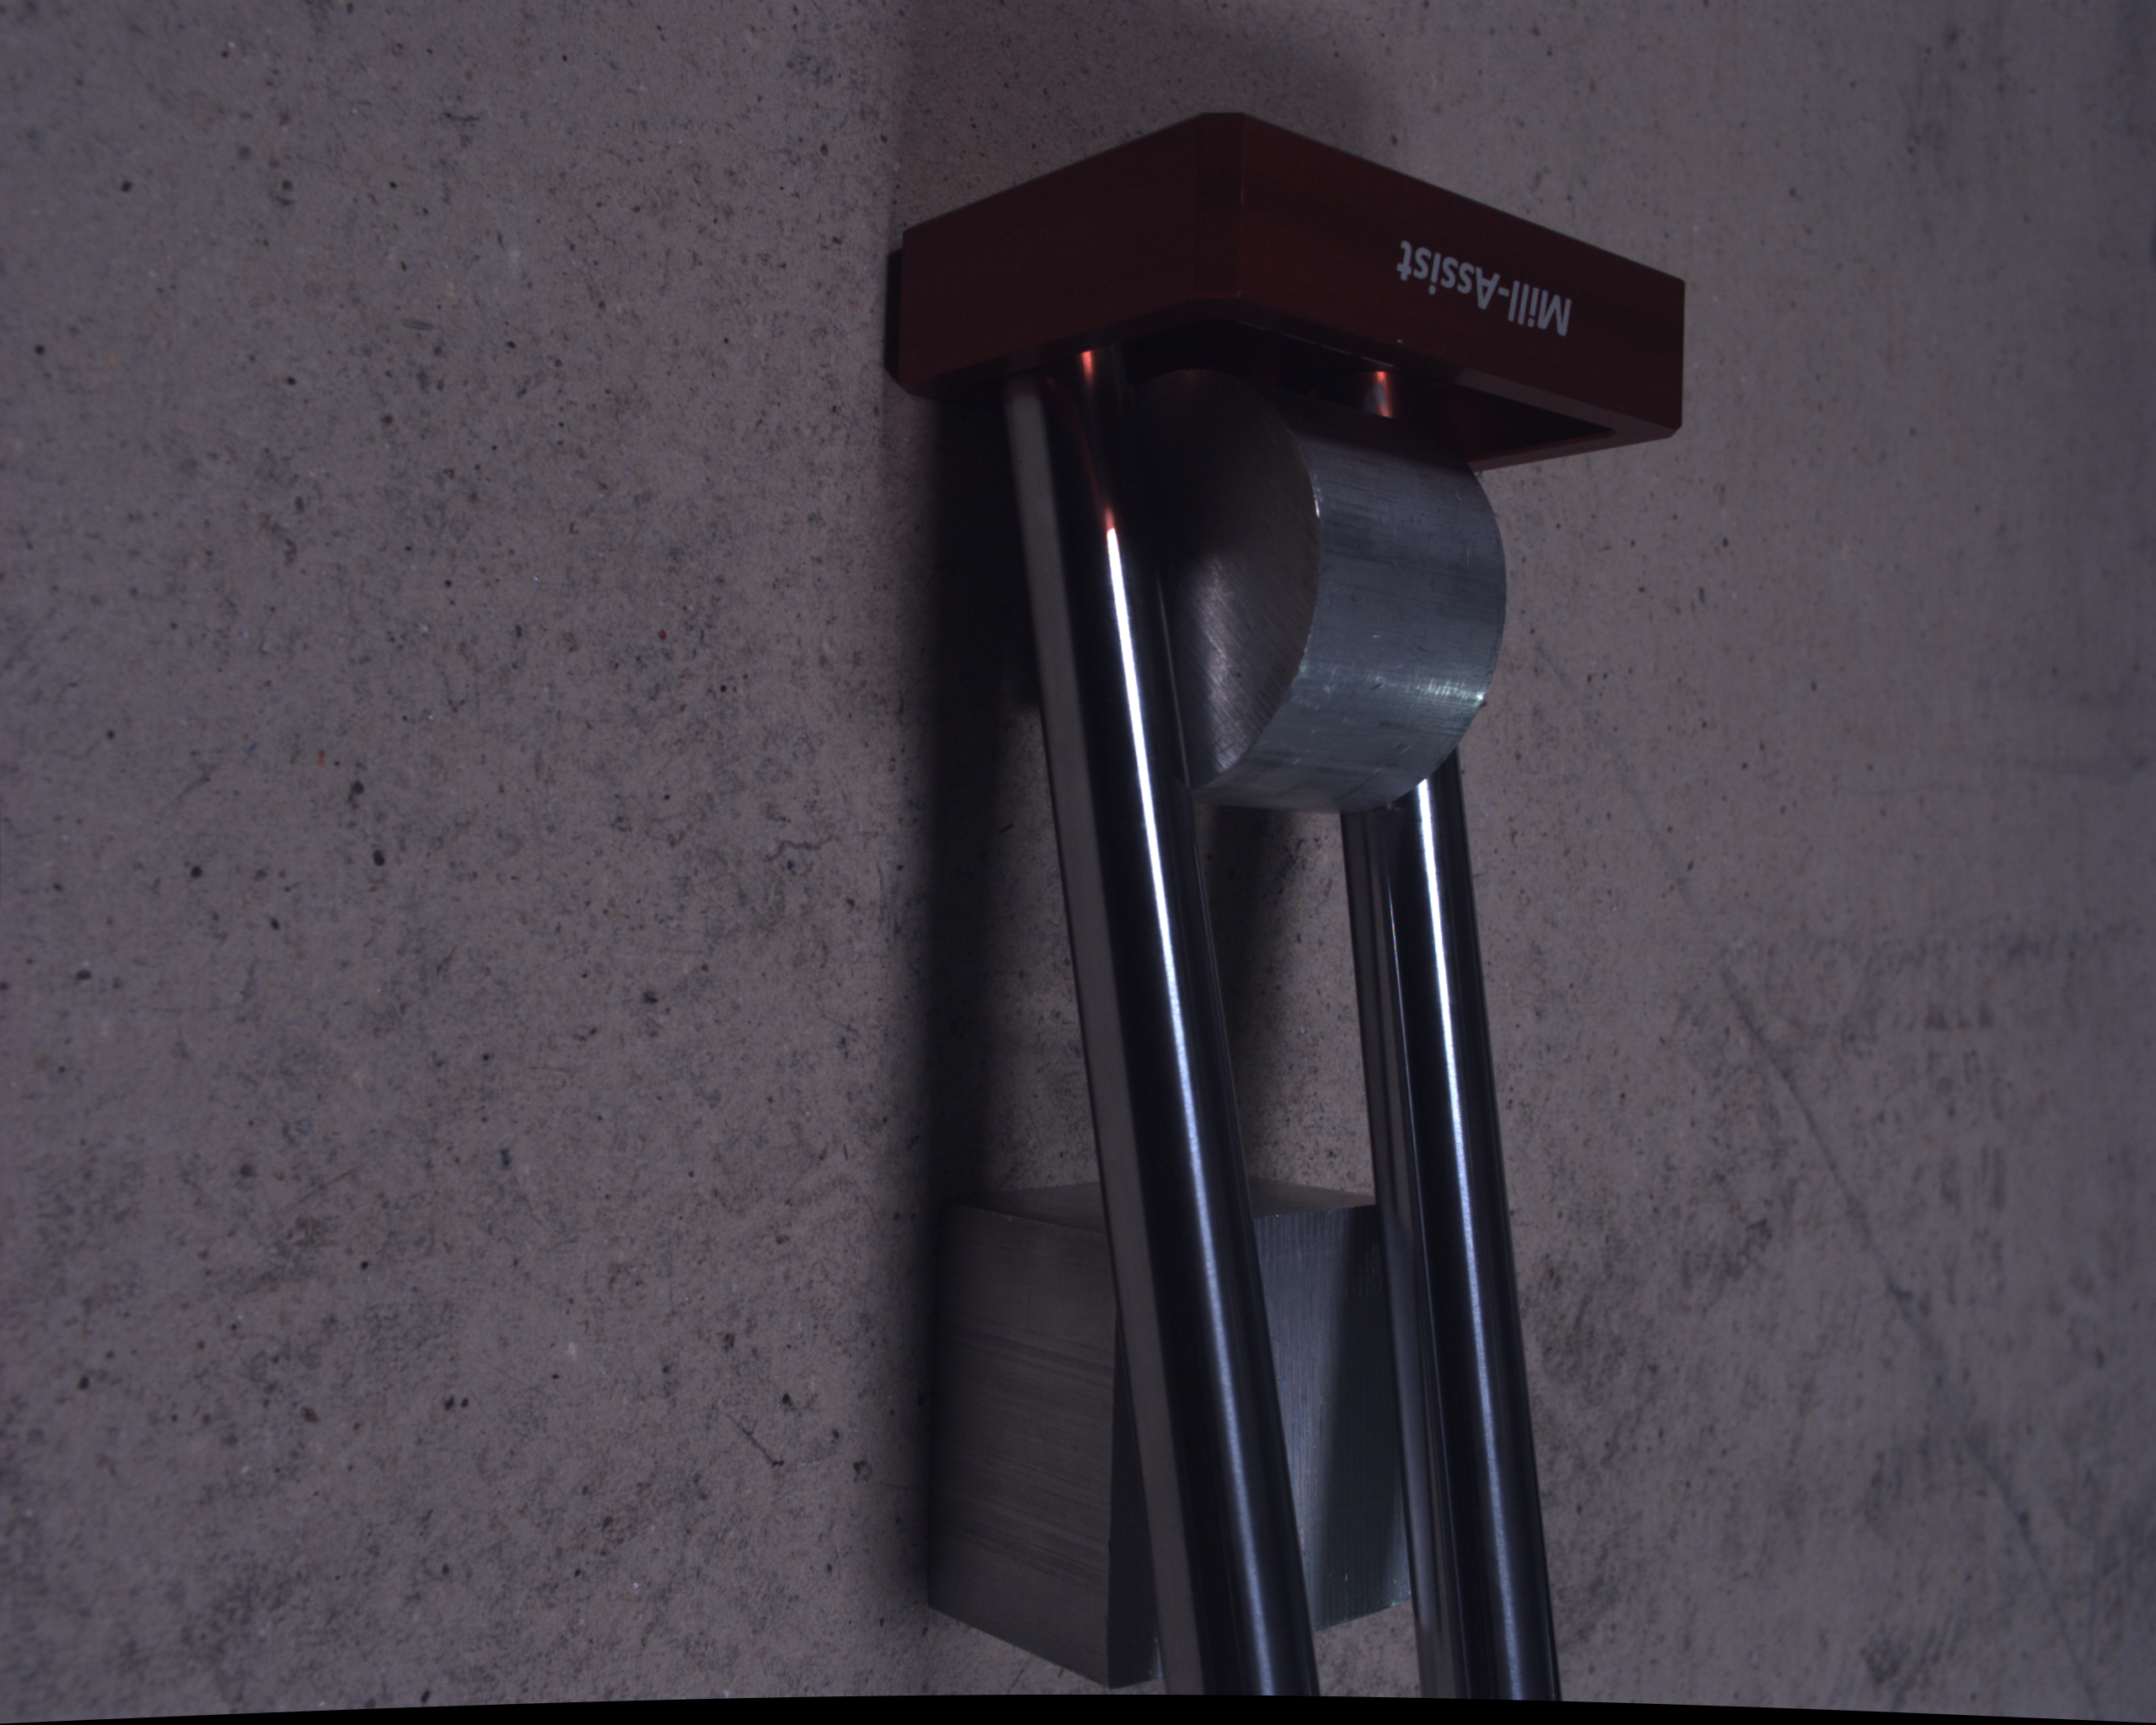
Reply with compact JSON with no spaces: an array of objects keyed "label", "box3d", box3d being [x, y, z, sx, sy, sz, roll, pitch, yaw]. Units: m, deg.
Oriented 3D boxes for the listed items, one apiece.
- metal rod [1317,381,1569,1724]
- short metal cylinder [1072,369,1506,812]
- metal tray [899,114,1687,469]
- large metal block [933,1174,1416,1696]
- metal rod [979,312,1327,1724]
[{"label":"metal rod","box3d":[0.069,0.046,0.405,0.025,0.025,0.299,11,68,-40]},{"label":"short metal cylinder","box3d":[0.034,-0.050,0.402,0.050,0.080,0.079,3,89,-41]},{"label":"metal tray","box3d":[0.043,-0.102,0.401,0.131,0.090,0.030,3,89,-40]},{"label":"large metal block","box3d":[0.020,0.106,0.407,0.081,0.050,0.079,2,89,-40]},{"label":"metal rod","box3d":[0.014,0.043,0.360,0.025,0.025,0.299,3,73,-40]}]
